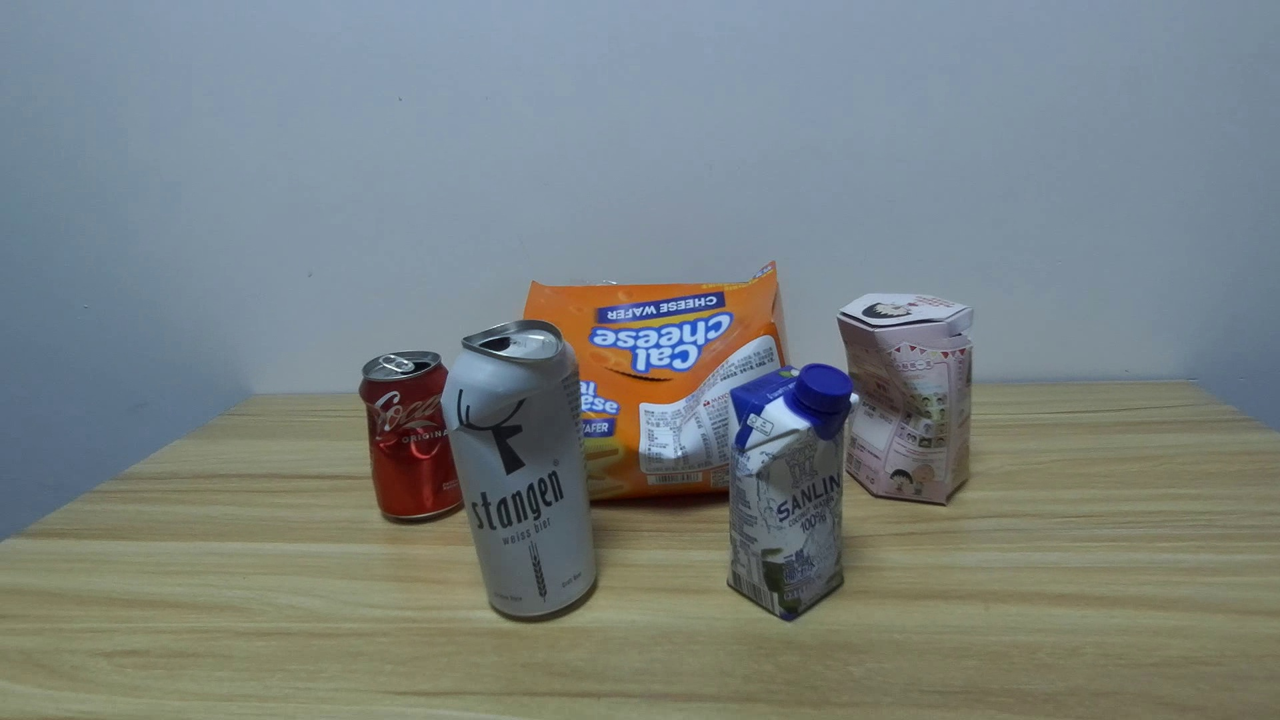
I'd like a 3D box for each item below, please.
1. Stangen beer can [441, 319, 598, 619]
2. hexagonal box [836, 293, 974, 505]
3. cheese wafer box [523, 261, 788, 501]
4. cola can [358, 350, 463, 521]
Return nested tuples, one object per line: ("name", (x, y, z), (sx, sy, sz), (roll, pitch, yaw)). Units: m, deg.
("Stangen beer can", (-0.064, 0.063, 0.398), (0.066, 0.162, 0.077), (-5, 19, 1))
("hexagonal box", (0.188, 0.027, 0.505), (0.090, 0.134, 0.091), (2, 20, 25))
("cheese wafer box", (0.014, 0.016, 0.549), (0.219, 0.145, 0.191), (-3, 18, 2))
("cola can", (-0.165, 0.055, 0.517), (0.067, 0.117, 0.065), (-16, 22, -30))
